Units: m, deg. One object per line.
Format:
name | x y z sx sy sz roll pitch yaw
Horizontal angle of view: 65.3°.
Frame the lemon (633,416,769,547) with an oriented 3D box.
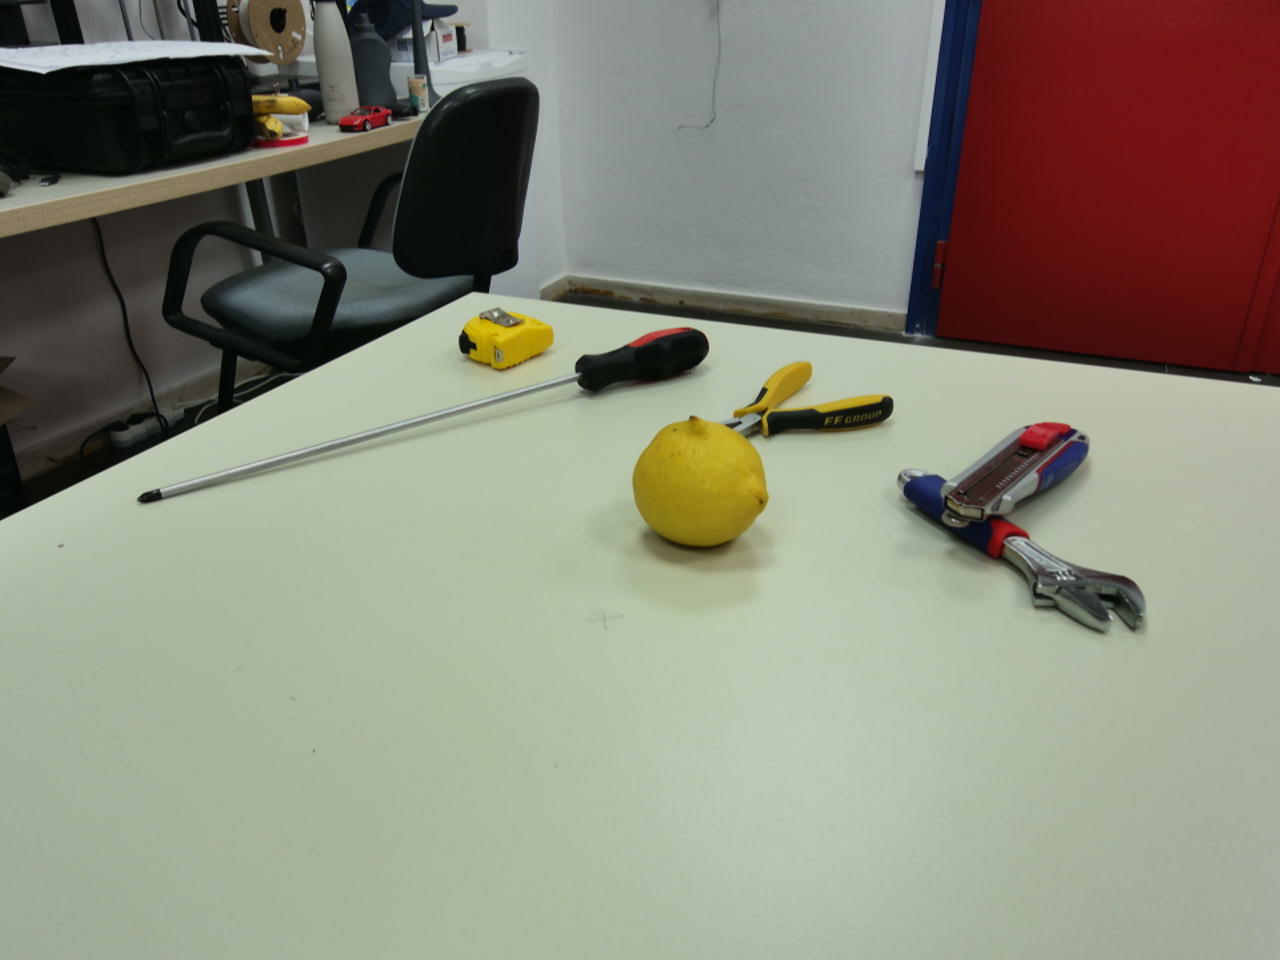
lemon | 0.032 -0.001 0.535 0.070 0.071 0.071 -4 25 -8
